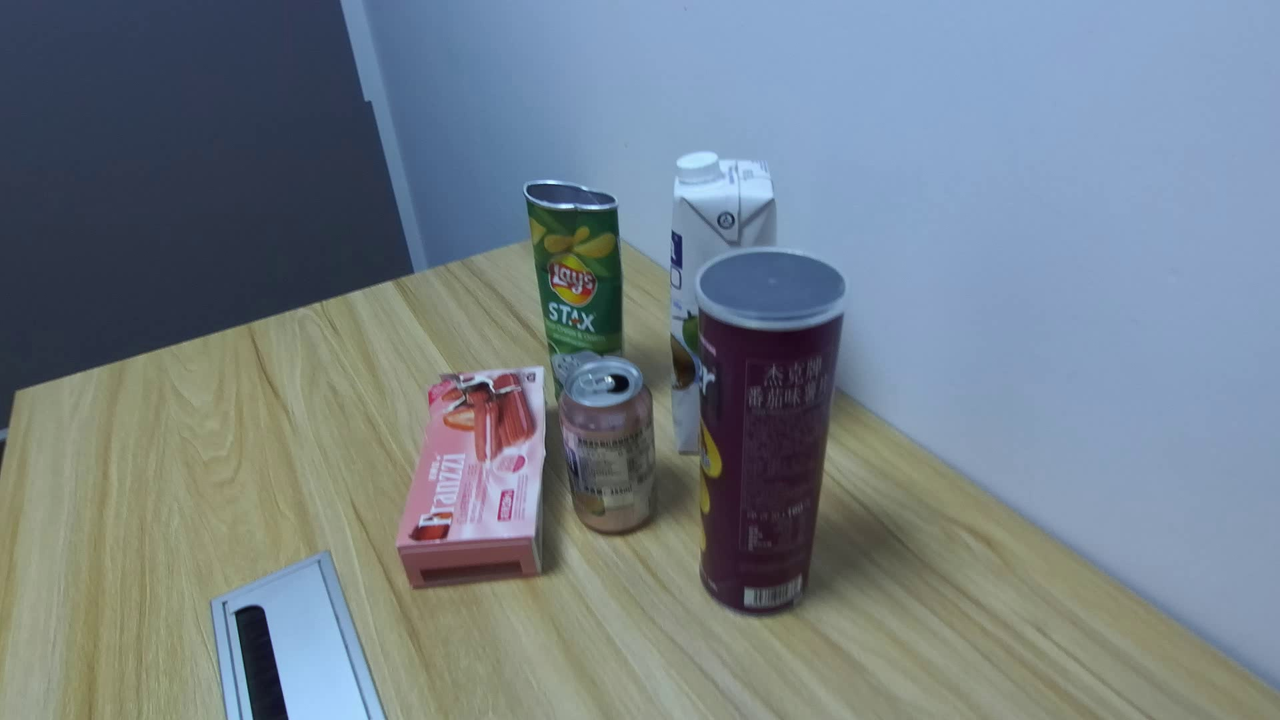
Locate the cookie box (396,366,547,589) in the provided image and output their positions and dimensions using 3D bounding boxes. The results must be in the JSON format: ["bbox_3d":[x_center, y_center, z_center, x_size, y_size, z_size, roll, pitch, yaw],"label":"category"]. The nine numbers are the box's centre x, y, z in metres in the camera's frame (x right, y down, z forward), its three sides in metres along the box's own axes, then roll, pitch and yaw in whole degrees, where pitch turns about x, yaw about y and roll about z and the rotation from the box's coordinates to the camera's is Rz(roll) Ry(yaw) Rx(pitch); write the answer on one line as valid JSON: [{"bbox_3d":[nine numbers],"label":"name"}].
[{"bbox_3d":[-0.125,0.083,0.558,0.105,0.059,0.185,-7,37,-2],"label":"cookie box"}]

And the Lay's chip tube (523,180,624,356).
[{"bbox_3d":[-0.051,-0.049,0.610,0.075,0.200,0.068,-6,36,-5],"label":"Lay's chip tube"}]

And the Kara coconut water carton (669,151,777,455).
[{"bbox_3d":[0.063,-0.038,0.546,0.075,0.245,0.077,1,36,4],"label":"Kara coconut water carton"}]

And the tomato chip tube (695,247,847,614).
[{"bbox_3d":[0.074,0.055,0.423,0.078,0.234,0.078,-3,36,2],"label":"tomato chip tube"}]

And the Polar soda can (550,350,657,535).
[{"bbox_3d":[-0.022,0.064,0.519,0.067,0.126,0.067,-3,35,2],"label":"Polar soda can"}]
